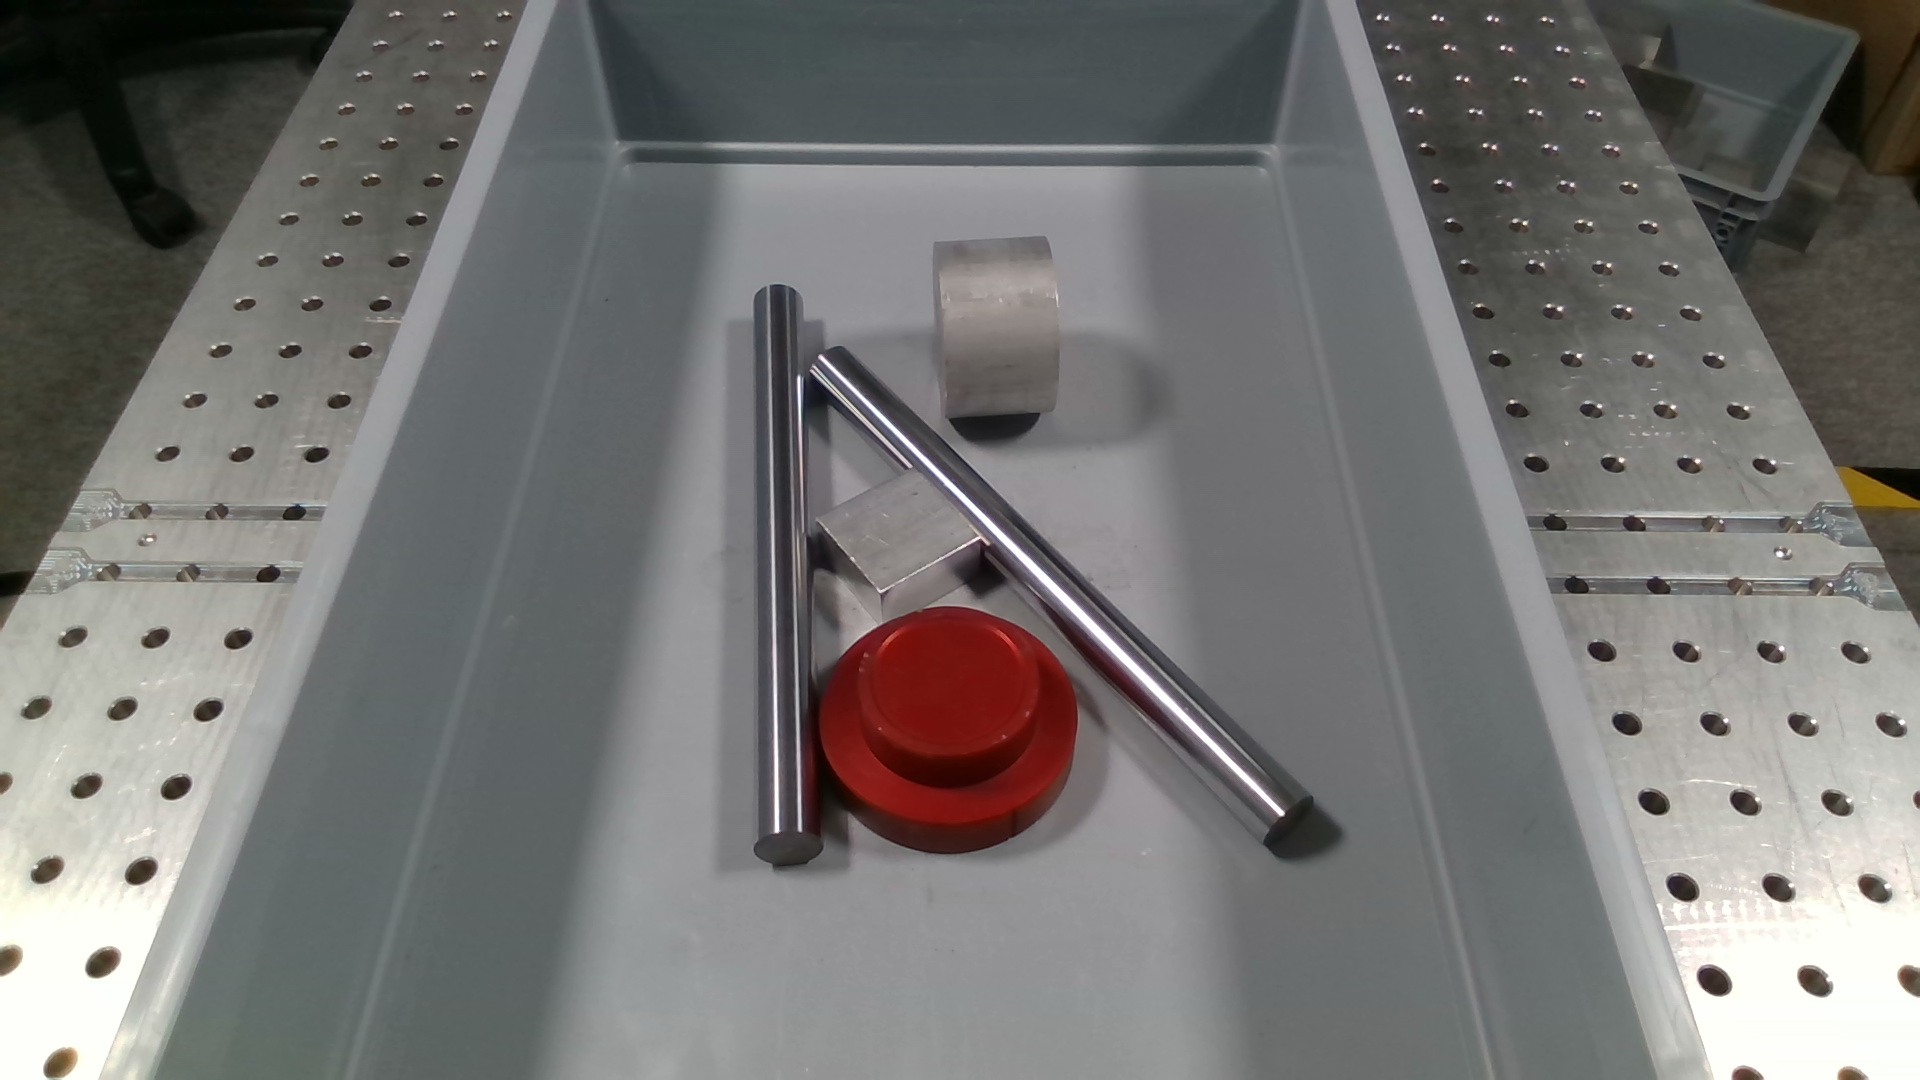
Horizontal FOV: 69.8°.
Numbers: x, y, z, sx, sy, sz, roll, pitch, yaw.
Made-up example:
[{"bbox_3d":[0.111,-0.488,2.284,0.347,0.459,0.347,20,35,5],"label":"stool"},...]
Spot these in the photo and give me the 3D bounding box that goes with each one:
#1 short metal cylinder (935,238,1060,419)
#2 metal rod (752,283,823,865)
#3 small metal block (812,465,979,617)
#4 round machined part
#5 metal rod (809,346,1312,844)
[{"bbox_3d":[0.015,-0.097,0.632,0.050,0.080,0.080,-4,50,-3],"label":"short metal cylinder"},{"bbox_3d":[-0.076,-0.004,0.589,0.025,0.025,0.299,-4,50,-4],"label":"metal rod"},{"bbox_3d":[-0.027,0.002,0.583,0.050,0.025,0.050,-29,56,-22],"label":"small metal block"},{"bbox_3d":[-0.005,0.063,0.520,0.098,0.042,0.098,0,50,0],"label":"round machined part"},{"bbox_3d":[0.029,0.010,0.577,0.025,0.025,0.299,-30,56,-23],"label":"metal rod"}]
